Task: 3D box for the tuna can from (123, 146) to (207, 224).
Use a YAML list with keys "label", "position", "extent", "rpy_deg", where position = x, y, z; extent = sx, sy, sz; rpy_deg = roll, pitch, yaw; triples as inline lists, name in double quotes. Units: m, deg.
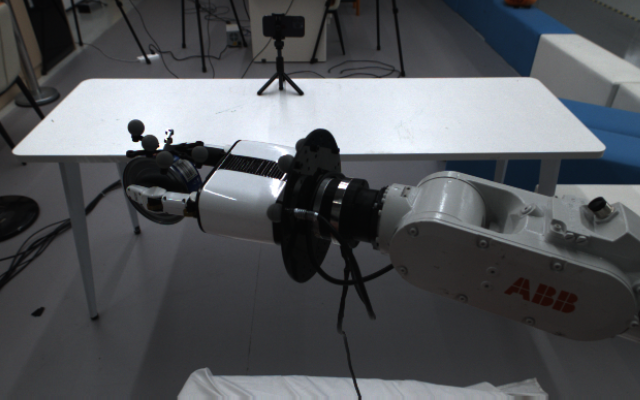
- label: "tuna can"
  position: [-0.176, -0.012, 0.550]
  extent: [0.085, 0.085, 0.034]
  rpy_deg: [13, 30, 15]
